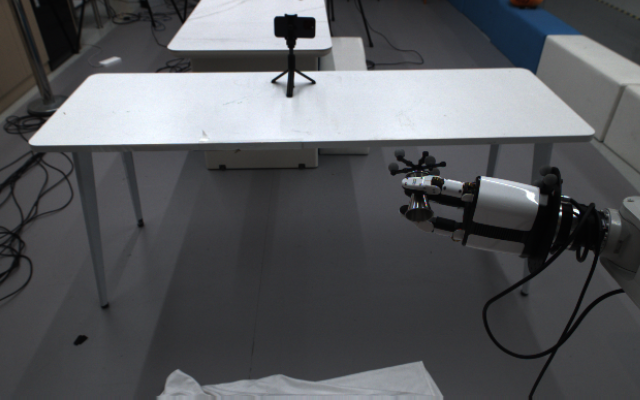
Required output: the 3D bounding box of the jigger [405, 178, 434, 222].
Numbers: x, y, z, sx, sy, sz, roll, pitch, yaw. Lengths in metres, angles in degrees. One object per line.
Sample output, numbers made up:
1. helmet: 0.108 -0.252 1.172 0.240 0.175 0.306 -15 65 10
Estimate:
1. jigger: 0.151 -0.009 0.744 0.043 0.043 0.071 4 61 3
